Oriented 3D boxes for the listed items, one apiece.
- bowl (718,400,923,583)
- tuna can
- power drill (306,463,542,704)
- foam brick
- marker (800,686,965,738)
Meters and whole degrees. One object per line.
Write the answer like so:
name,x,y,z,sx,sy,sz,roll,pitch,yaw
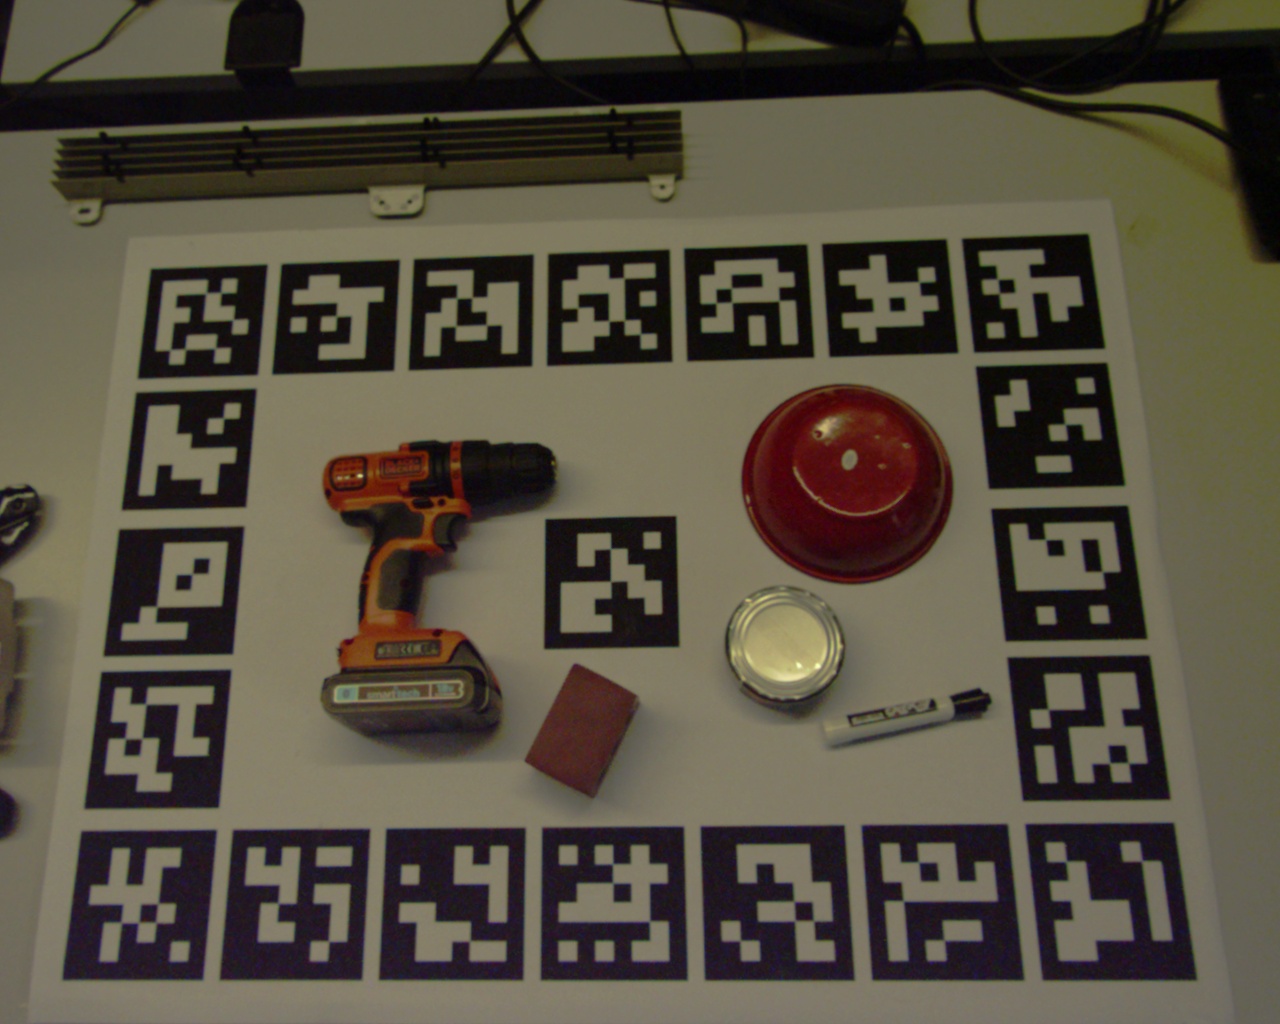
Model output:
bowl,0.142,-0.028,0.889,0.162,0.055,0.162,-3,67,5
tuna can,0.093,0.097,0.855,0.086,0.033,0.086,0,74,1
power drill,-0.167,0.051,0.877,0.184,0.057,0.187,-2,71,-1
foam brick,-0.051,0.158,0.843,0.051,0.052,0.078,23,77,7
marker,0.179,0.147,0.841,0.121,0.019,0.020,-11,75,0
